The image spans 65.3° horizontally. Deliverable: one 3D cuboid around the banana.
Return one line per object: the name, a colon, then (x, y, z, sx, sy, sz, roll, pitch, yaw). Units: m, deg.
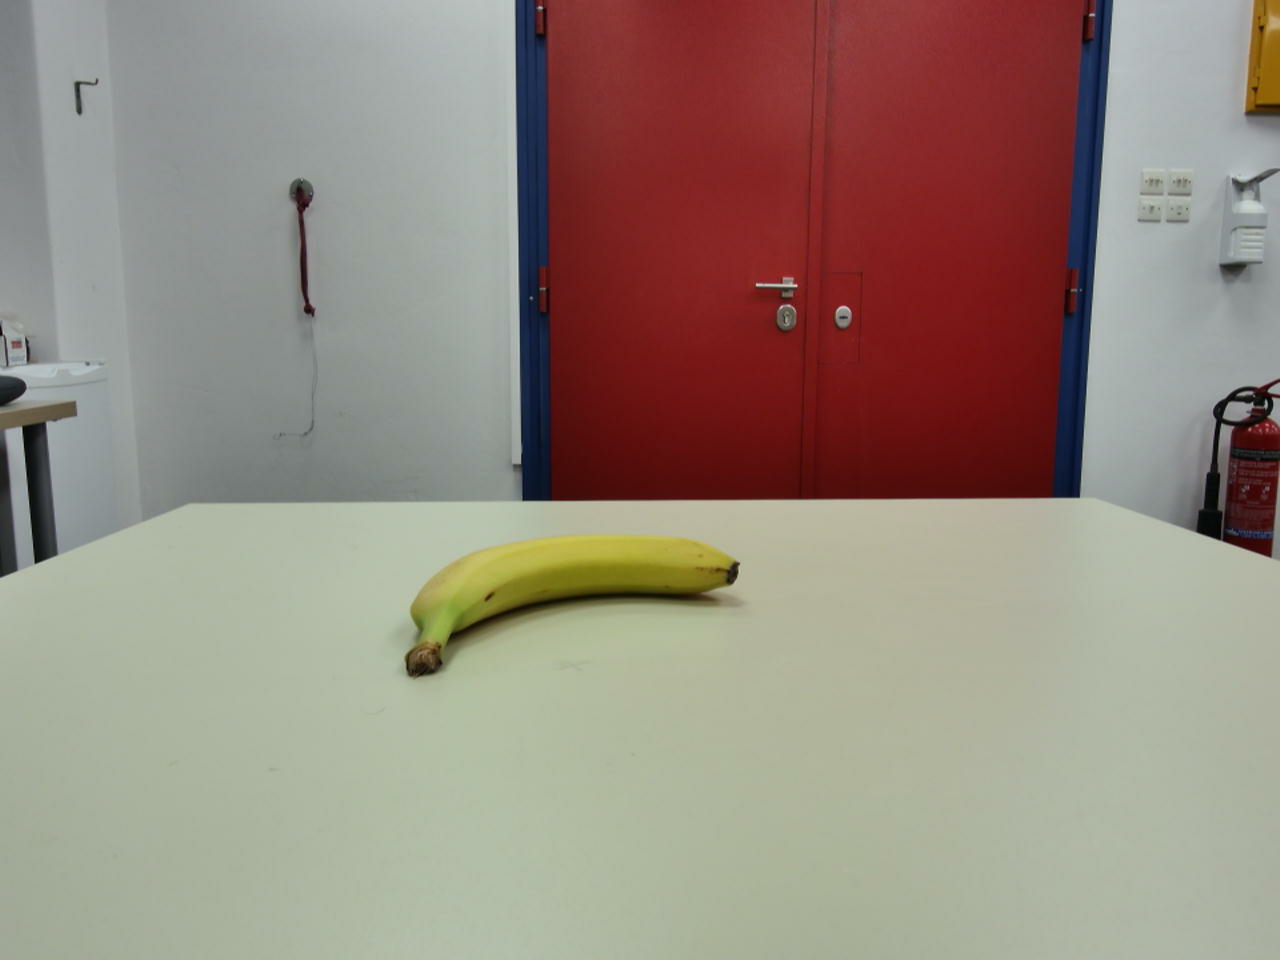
banana: (-0.047, 0.055, 0.525, 0.196, 0.041, 0.094, -5, 8, -36)
